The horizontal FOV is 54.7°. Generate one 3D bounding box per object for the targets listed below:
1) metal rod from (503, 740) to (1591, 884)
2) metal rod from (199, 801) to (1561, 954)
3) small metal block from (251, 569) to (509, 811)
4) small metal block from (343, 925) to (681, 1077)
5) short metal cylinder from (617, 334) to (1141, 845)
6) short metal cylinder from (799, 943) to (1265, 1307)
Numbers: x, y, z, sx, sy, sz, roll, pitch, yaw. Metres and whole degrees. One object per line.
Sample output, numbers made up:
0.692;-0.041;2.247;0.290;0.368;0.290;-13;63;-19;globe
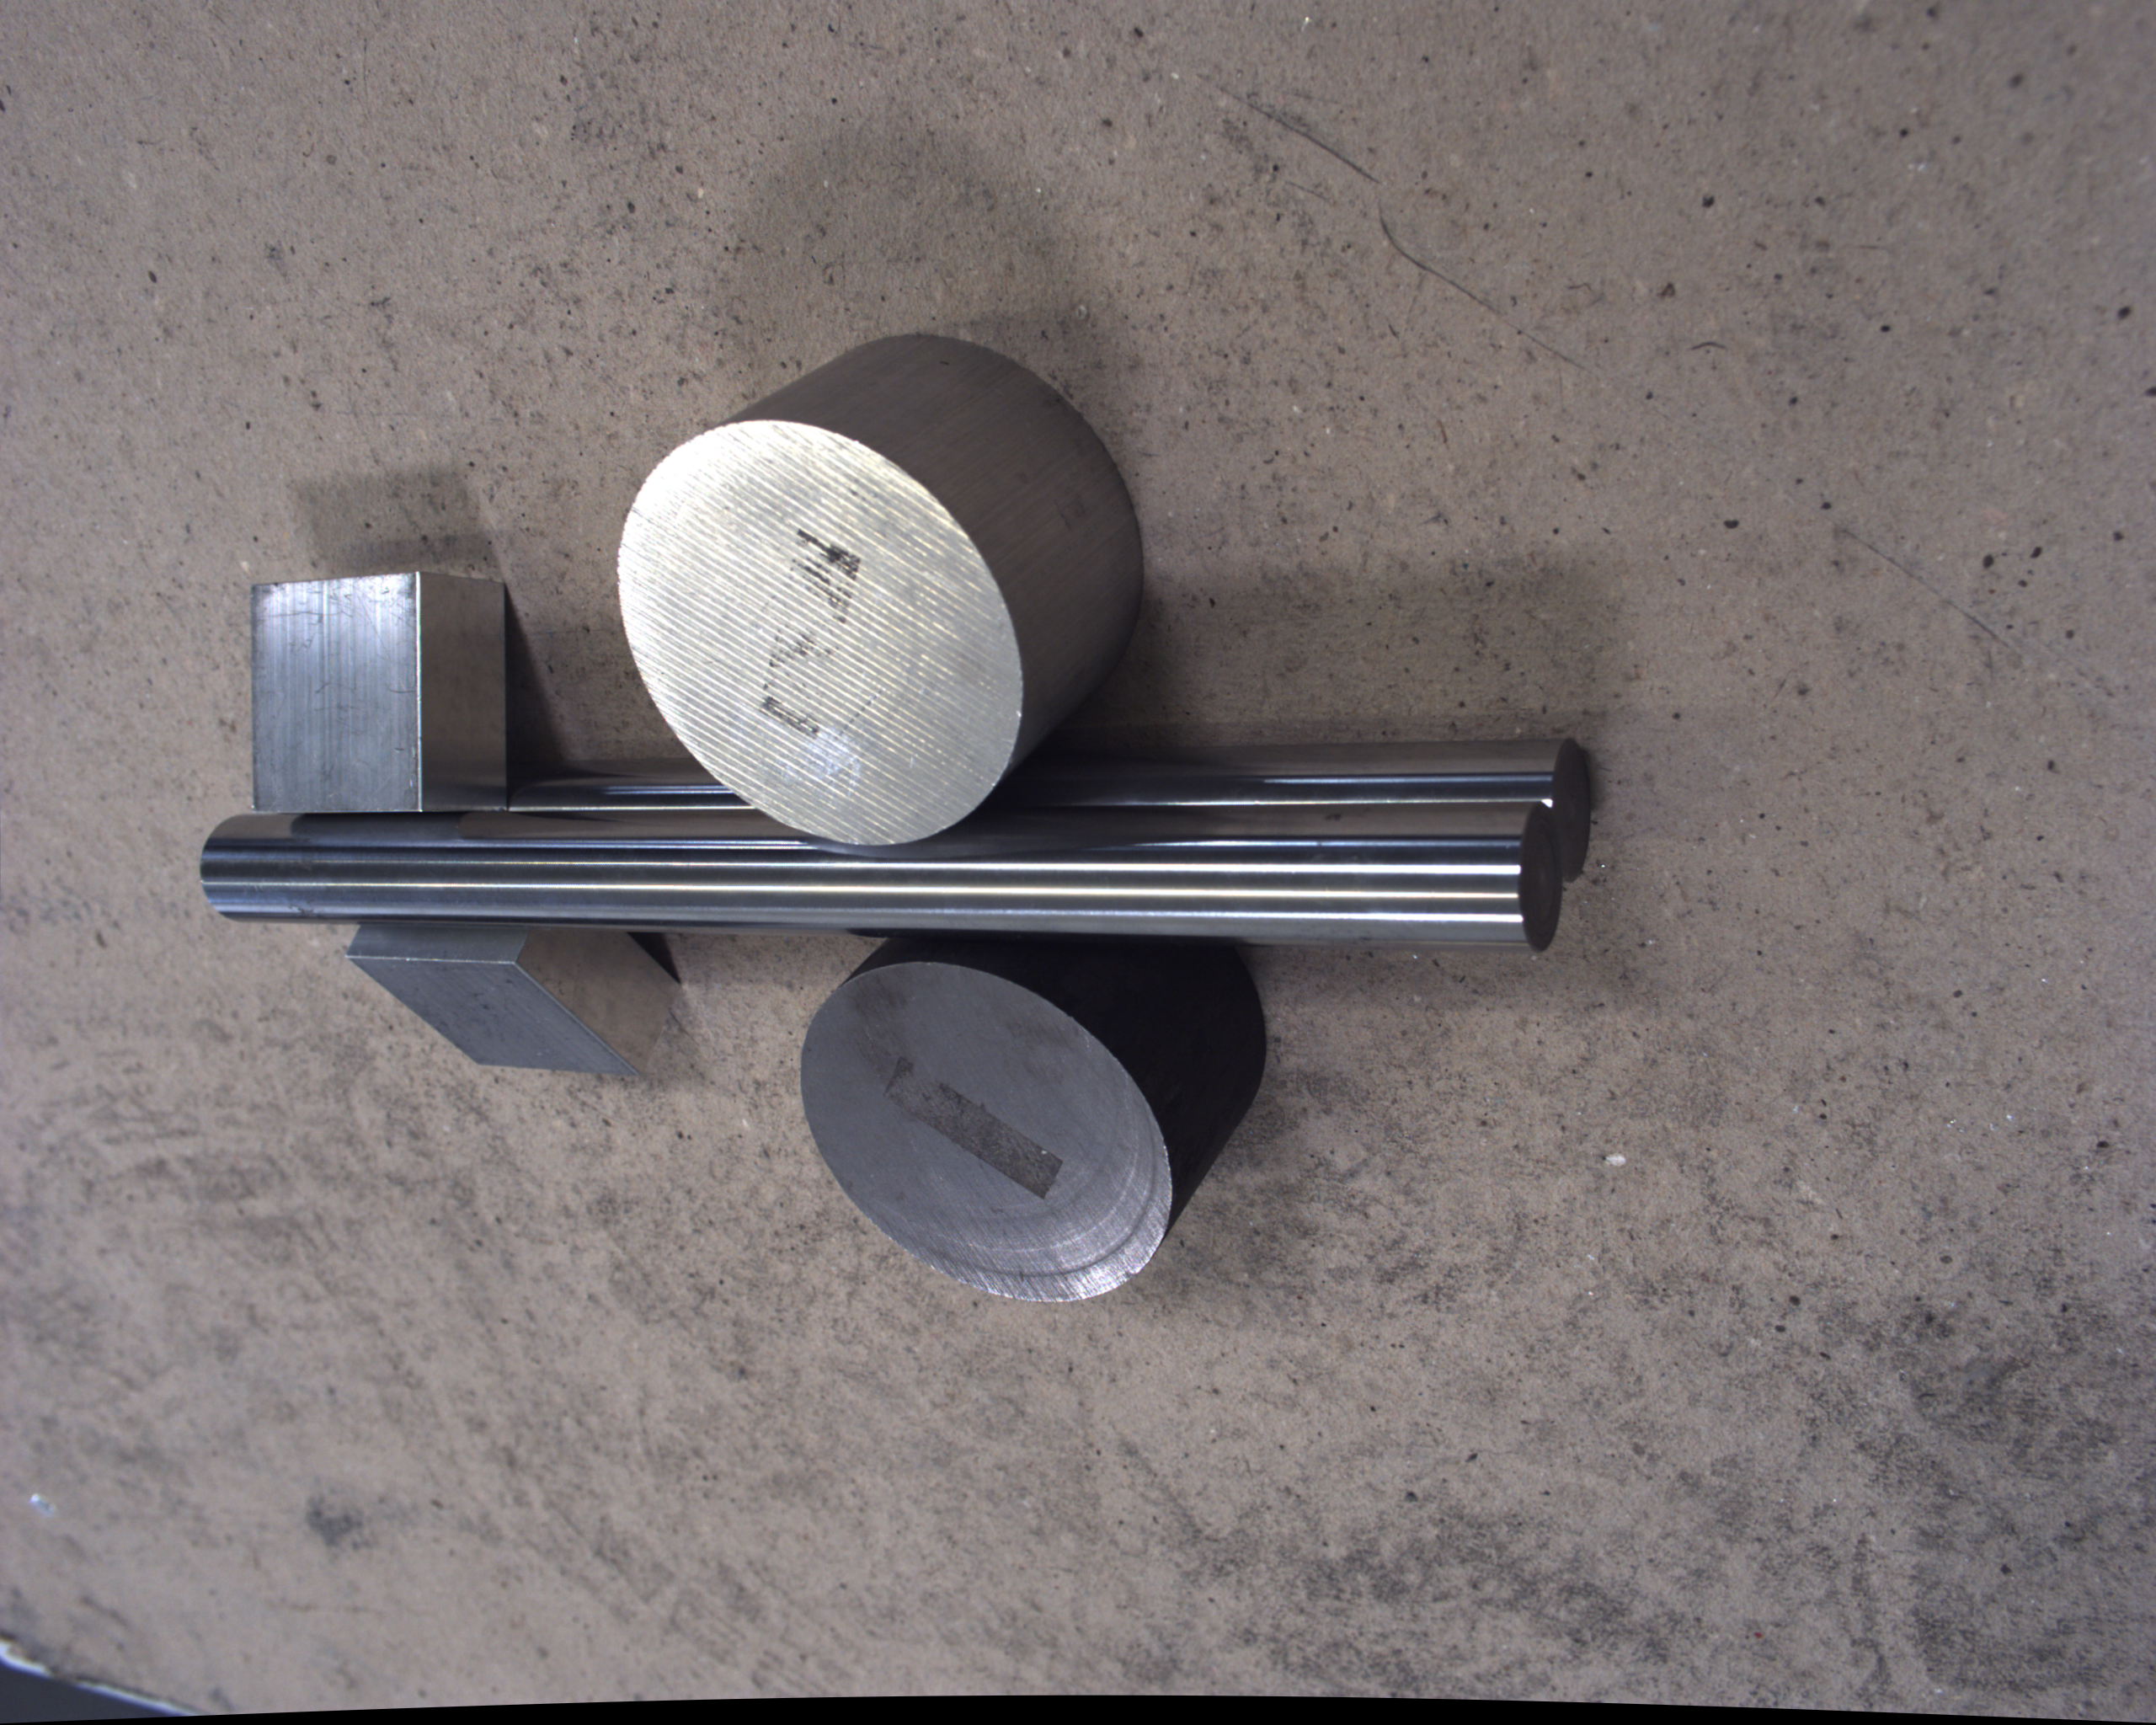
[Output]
-0.048;-0.010;0.428;0.300;0.025;0.025;0;119;28;metal rod
-0.058;0.001;0.408;0.300;0.025;0.025;0;119;28;metal rod
-0.152;-0.036;0.454;0.050;0.025;0.050;0;91;28;small metal block
-0.129;0.025;0.479;0.050;0.025;0.050;0;145;27;small metal block
-0.035;-0.050;0.380;0.080;0.050;0.079;13;124;21;short metal cylinder
-0.009;0.042;0.423;0.080;0.050;0.079;13;124;21;short metal cylinder
